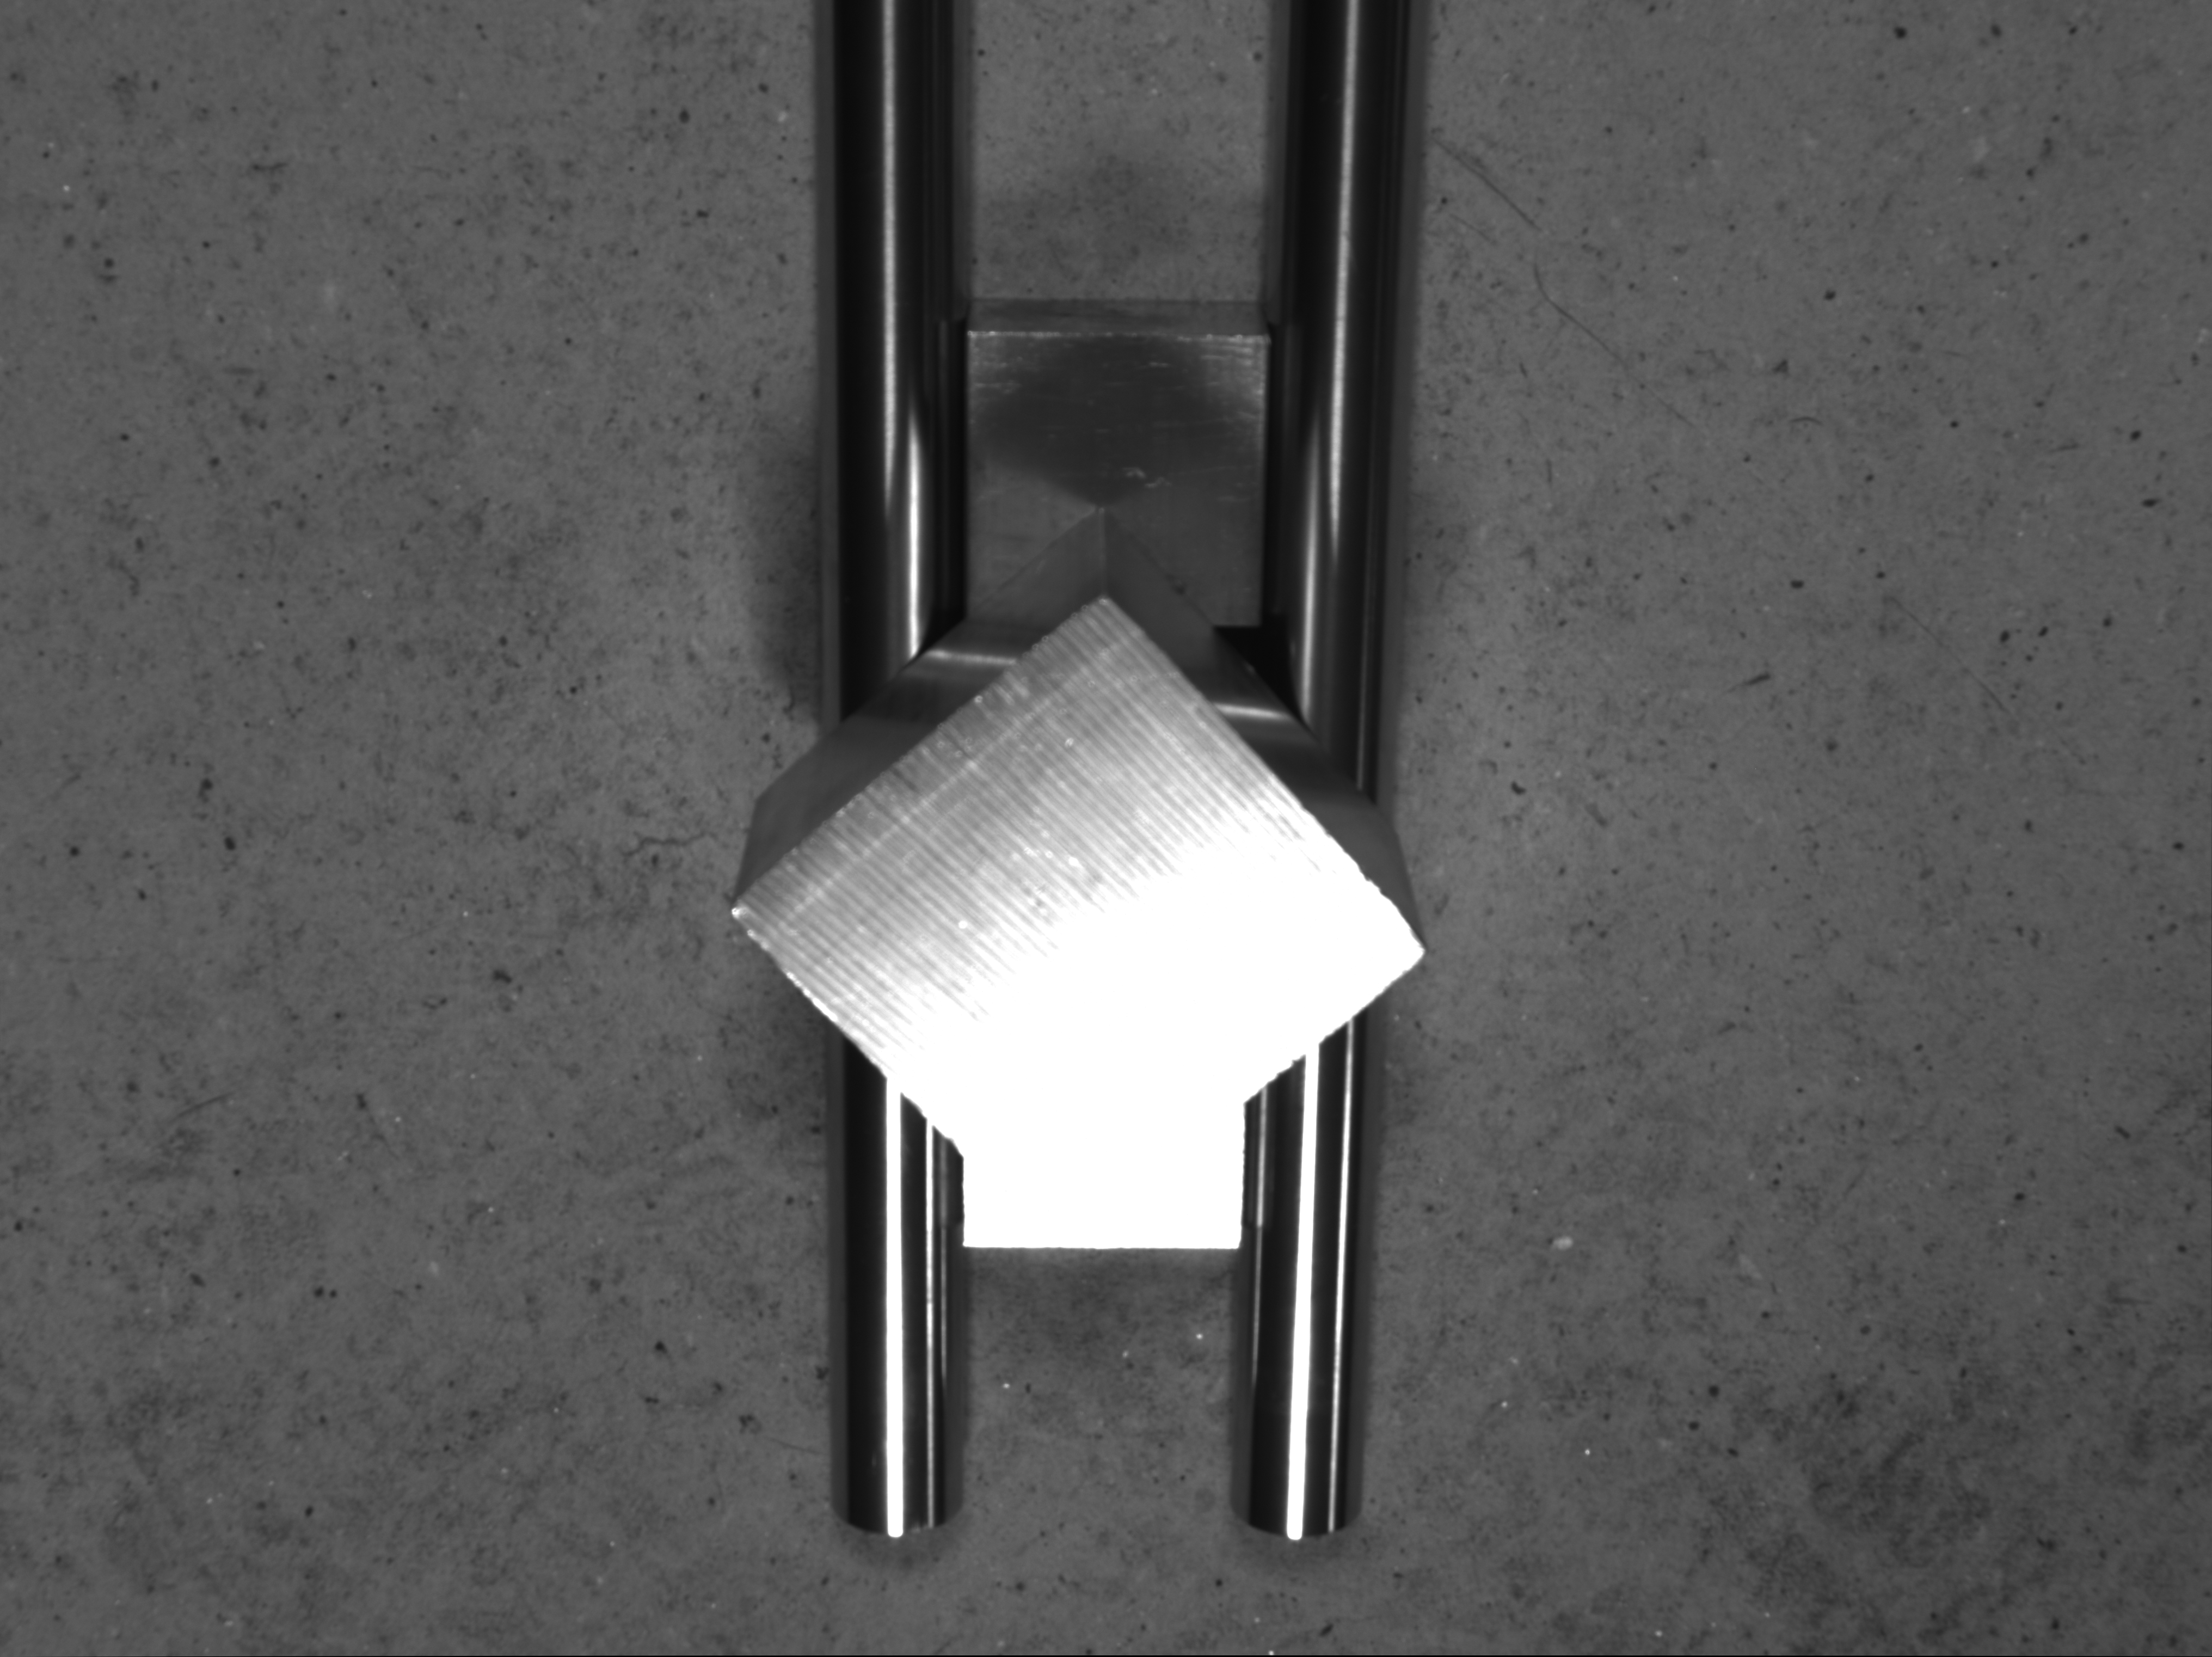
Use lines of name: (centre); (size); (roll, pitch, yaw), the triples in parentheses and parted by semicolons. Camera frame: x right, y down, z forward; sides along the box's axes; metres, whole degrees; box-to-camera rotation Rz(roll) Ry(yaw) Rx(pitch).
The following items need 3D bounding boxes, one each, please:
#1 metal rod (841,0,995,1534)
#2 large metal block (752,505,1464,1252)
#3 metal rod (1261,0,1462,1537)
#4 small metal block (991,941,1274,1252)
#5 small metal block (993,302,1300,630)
metal rod: (-0.032, -0.015, 0.638); (0.025, 0.025, 0.300); (1, 110, -1)
large metal block: (0.000, 0.008, 0.604); (0.080, 0.050, 0.080); (-39, 106, 12)
metal rod: (0.044, -0.014, 0.639); (0.025, 0.025, 0.300); (1, 110, -1)
small metal block: (0.005, 0.048, 0.660); (0.050, 0.025, 0.050); (1, 110, -1)
small metal block: (0.006, -0.061, 0.620); (0.050, 0.025, 0.050); (1, 110, -1)
